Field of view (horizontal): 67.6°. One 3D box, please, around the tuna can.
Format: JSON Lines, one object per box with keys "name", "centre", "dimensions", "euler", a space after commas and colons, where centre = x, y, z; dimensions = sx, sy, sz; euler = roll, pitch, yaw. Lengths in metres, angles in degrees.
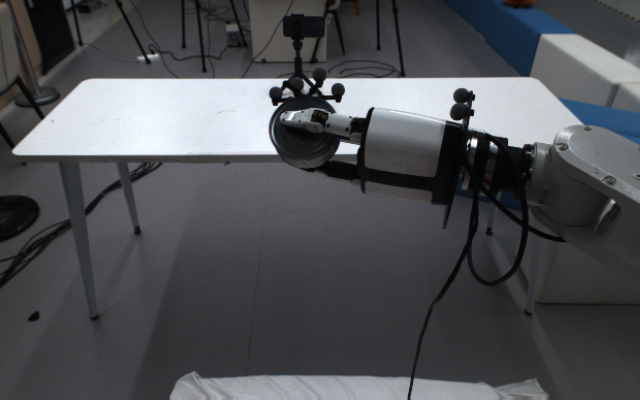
{"name": "tuna can", "centre": [-0.016, -0.079, 0.592], "dimensions": [0.085, 0.034, 0.085], "euler": [-2, 69, 6]}
